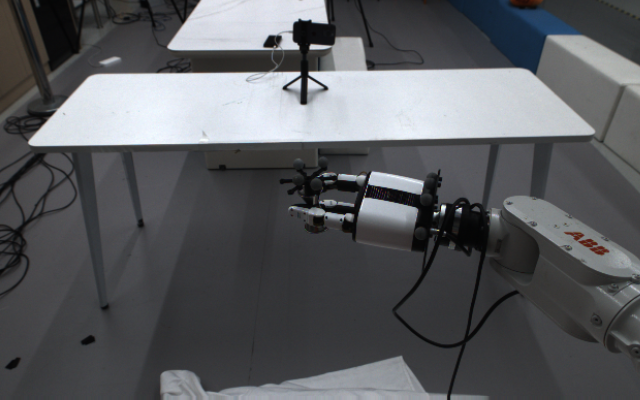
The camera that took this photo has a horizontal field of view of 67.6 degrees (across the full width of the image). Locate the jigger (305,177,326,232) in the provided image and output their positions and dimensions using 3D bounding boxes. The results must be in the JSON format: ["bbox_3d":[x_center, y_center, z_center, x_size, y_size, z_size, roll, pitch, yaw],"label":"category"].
[{"bbox_3d":[-0.008,0.010,0.758,0.043,0.071,0.043,-9,31,5],"label":"jigger"}]
